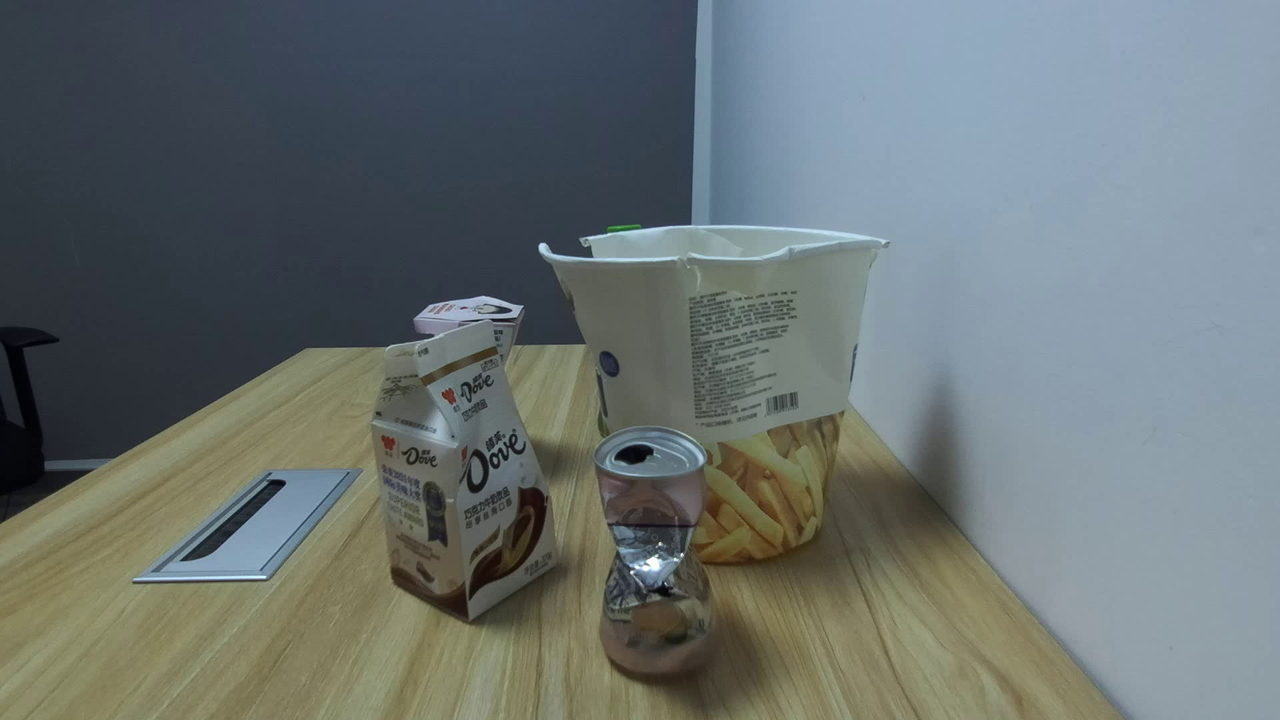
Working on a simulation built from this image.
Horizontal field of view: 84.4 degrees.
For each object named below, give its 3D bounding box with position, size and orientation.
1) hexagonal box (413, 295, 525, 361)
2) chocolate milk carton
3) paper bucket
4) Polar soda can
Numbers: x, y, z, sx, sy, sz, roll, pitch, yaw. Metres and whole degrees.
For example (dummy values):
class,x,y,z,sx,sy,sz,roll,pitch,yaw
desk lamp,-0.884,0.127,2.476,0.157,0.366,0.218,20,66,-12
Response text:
class,x,y,z,sx,sy,sz,roll,pitch,yaw
hexagonal box,-0.134,0.022,0.585,0.089,0.134,0.091,16,24,37
chocolate milk carton,-0.101,0.058,0.416,0.072,0.155,0.085,11,19,36
paper bucket,0.051,0.013,0.481,0.203,0.197,0.145,-14,19,-38
Polar soda can,0.008,0.096,0.354,0.074,0.114,0.070,12,27,44
